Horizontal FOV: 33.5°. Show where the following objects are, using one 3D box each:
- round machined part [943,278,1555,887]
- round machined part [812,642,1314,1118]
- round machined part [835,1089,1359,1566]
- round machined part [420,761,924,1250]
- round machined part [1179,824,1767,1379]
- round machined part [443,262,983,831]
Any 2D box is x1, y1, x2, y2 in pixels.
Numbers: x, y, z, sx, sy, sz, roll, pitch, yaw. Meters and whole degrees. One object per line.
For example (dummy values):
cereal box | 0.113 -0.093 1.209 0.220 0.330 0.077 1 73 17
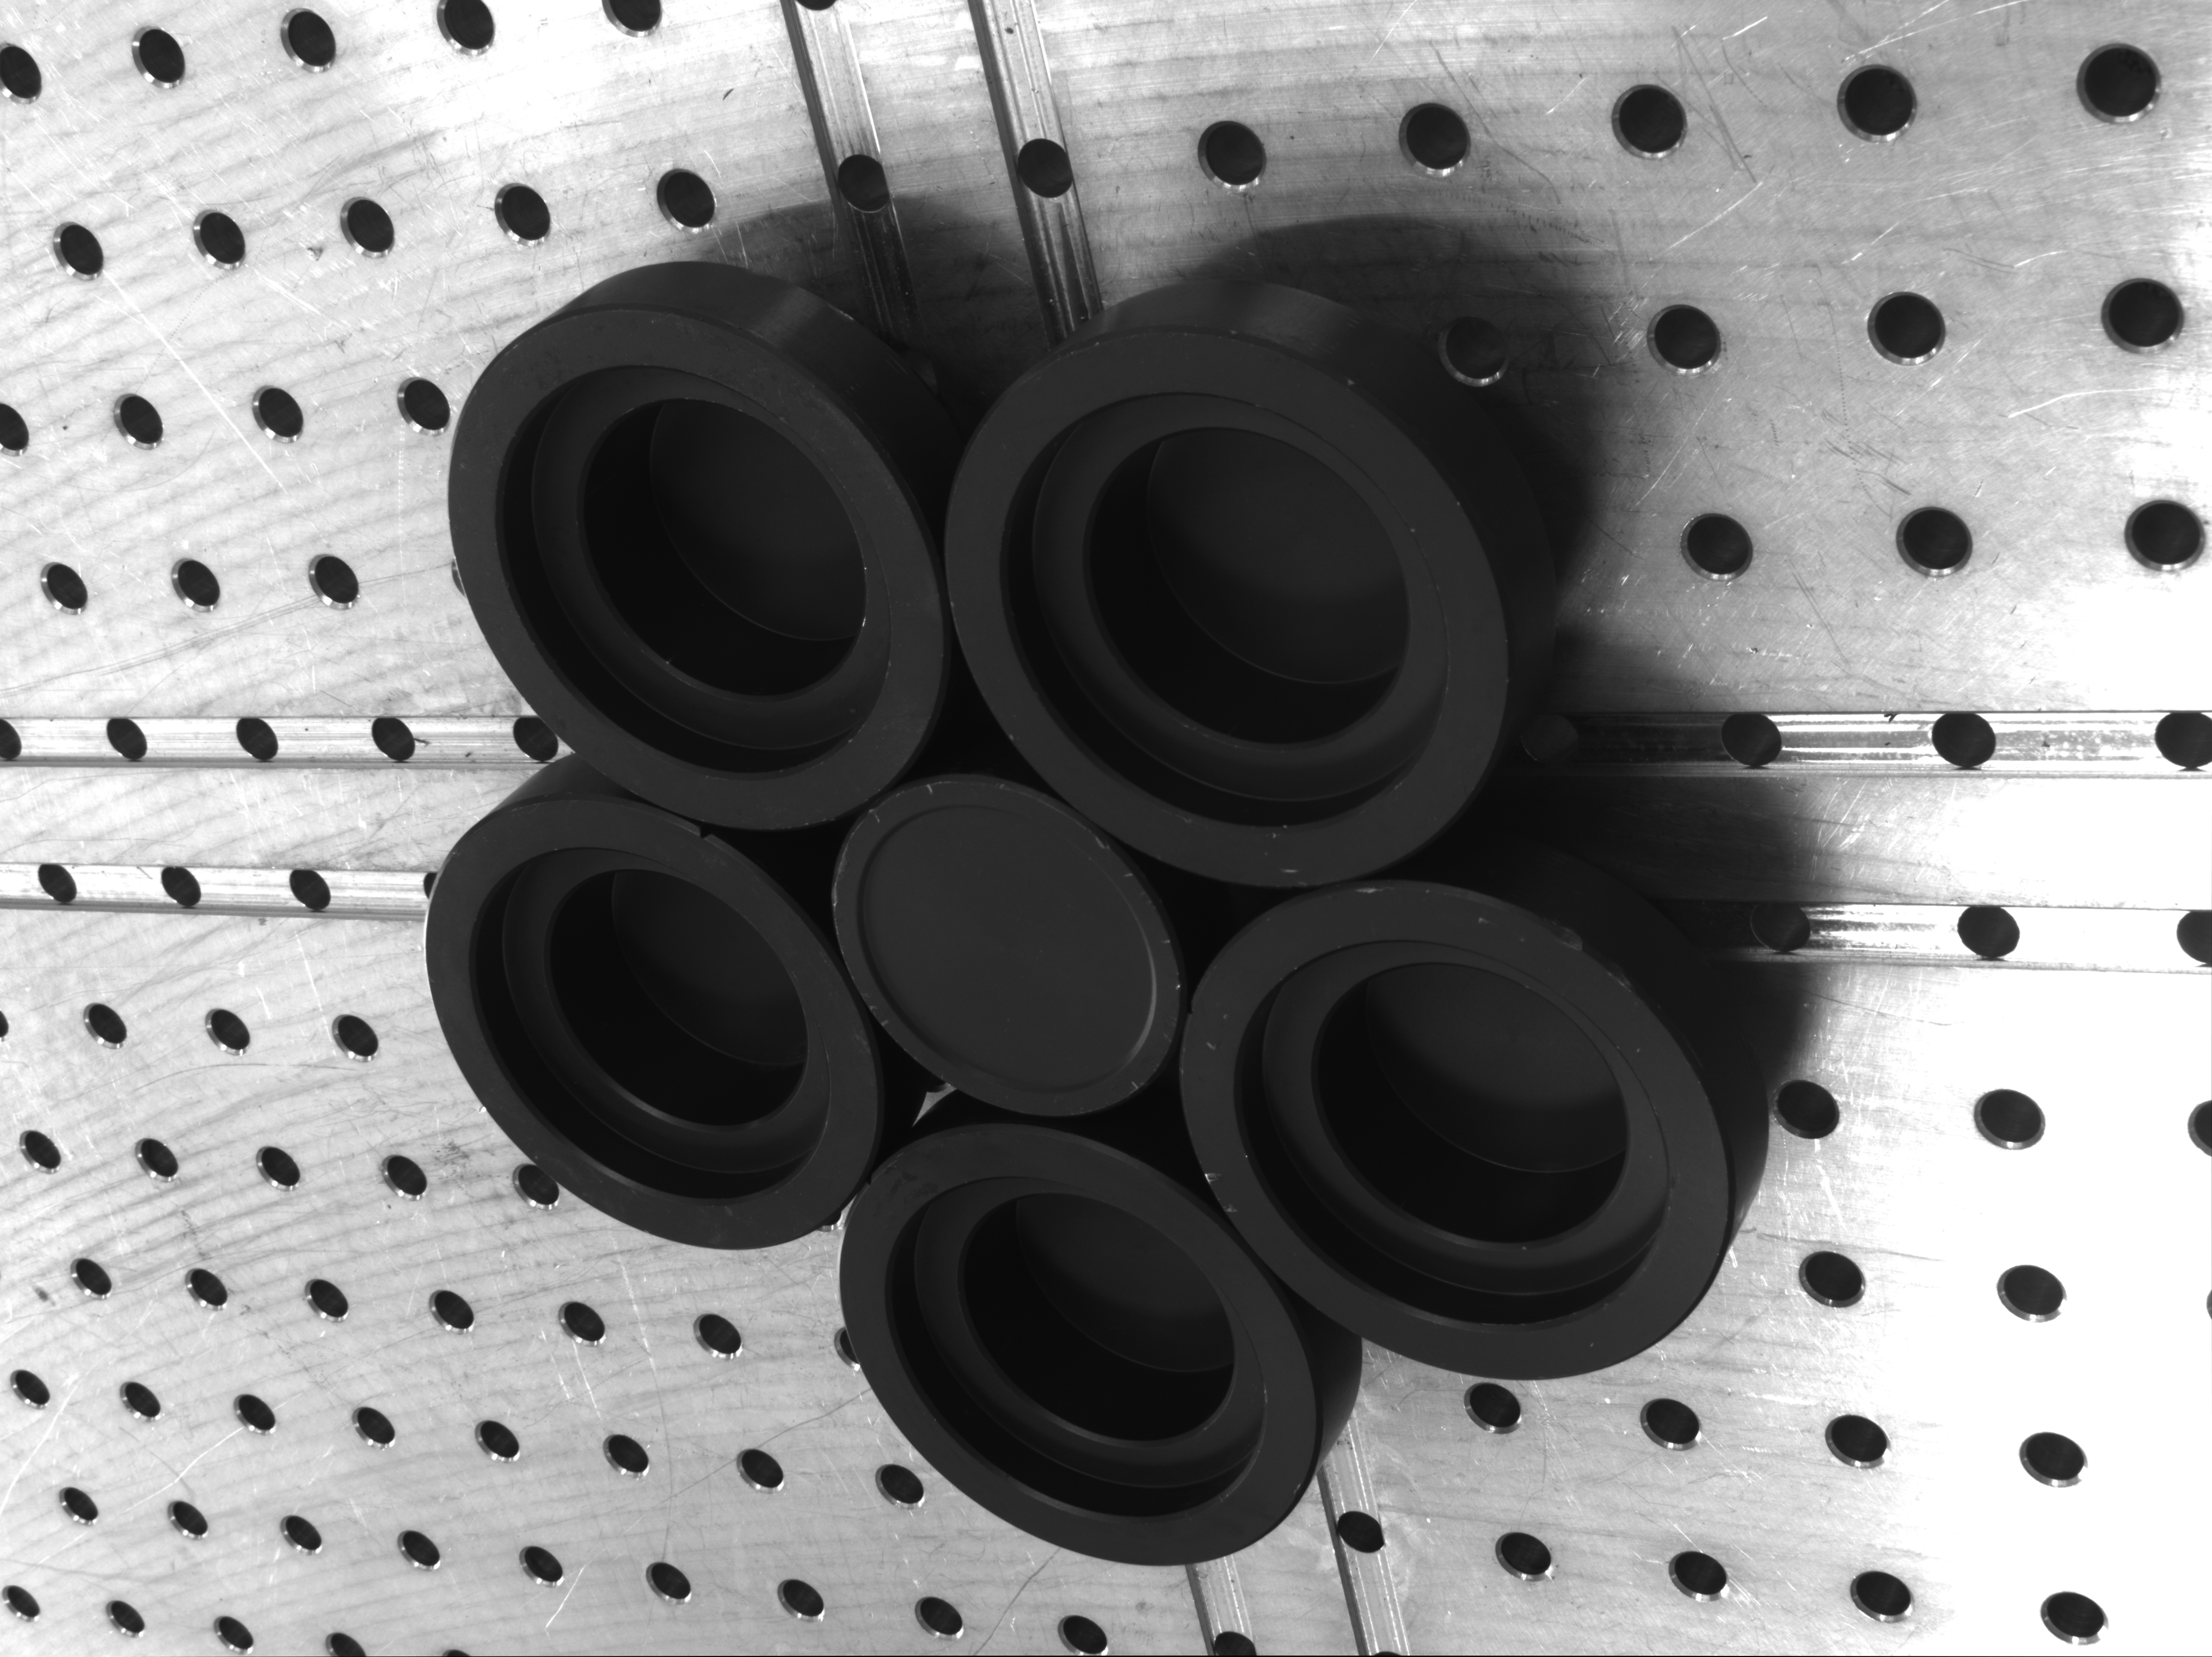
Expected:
round machined part | 0.026 -0.043 0.594 0.098 0.042 0.098 13 124 21
round machined part | -0.010 0.011 0.647 0.098 0.042 0.098 13 124 21
round machined part | 0.002 0.086 0.686 0.098 0.042 0.098 13 124 21
round machined part | -0.077 0.027 0.693 0.098 0.042 0.098 13 124 21
round machined part | 0.065 0.042 0.626 0.098 0.042 0.098 13 124 21
round machined part | -0.062 -0.052 0.636 0.098 0.042 0.098 13 124 21
